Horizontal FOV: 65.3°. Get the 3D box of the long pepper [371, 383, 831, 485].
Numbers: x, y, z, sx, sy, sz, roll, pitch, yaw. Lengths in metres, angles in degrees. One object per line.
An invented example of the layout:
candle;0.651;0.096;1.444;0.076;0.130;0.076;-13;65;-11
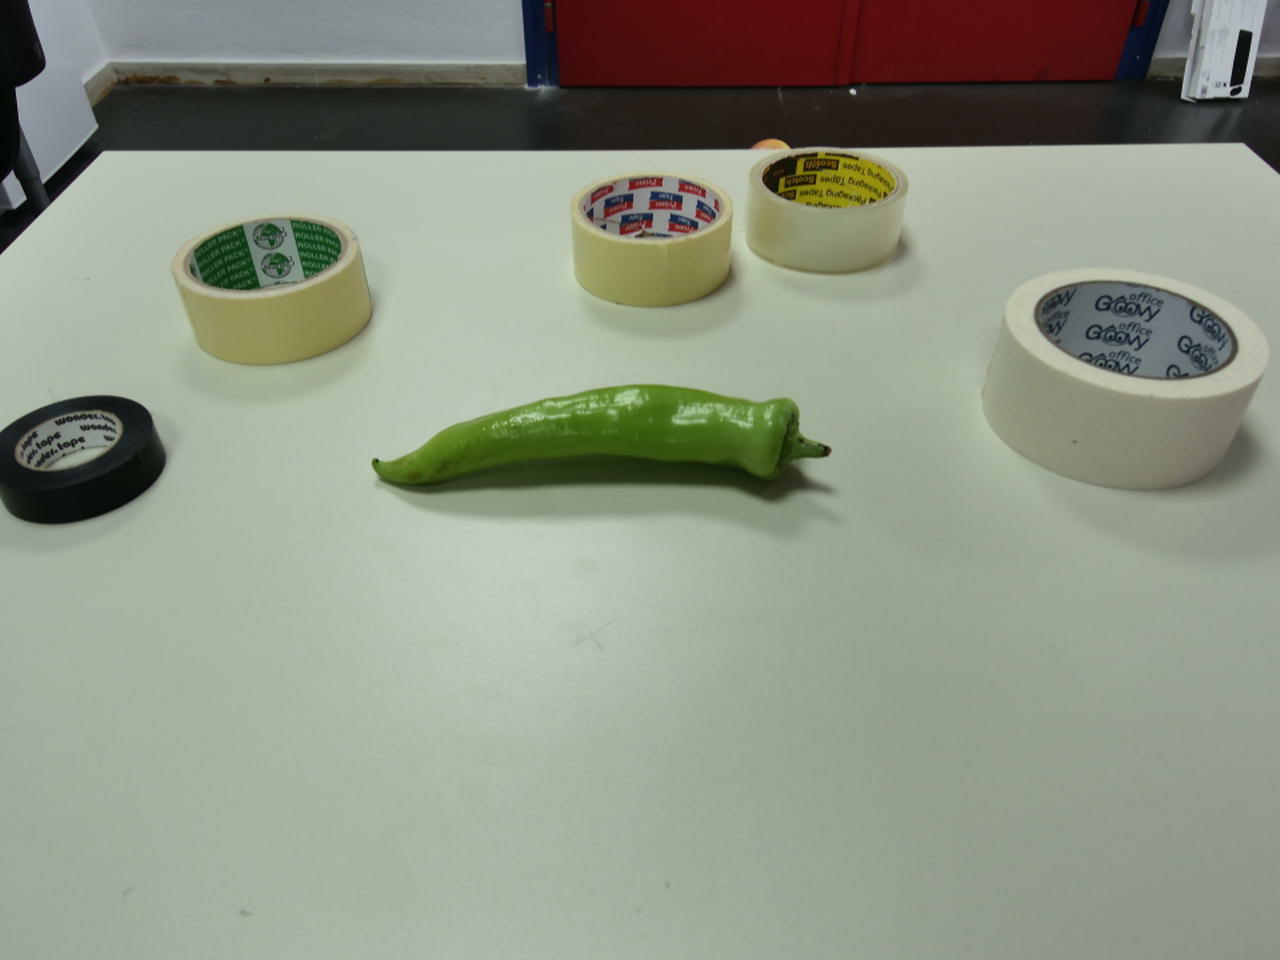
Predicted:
long pepper;-0.017;-0.021;0.434;0.197;0.038;0.046;1;39;2
